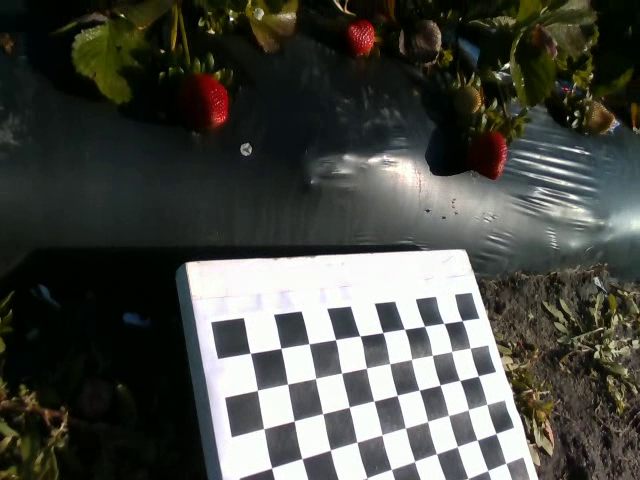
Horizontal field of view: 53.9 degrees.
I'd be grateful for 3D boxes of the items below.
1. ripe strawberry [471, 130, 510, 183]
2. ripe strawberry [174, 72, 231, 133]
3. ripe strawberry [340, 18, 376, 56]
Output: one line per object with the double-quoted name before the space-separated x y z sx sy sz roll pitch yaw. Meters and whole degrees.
"ripe strawberry" 0.153 -0.073 0.565 0.042 0.059 0.042 25 -45 -31
"ripe strawberry" -0.080 -0.094 0.439 0.045 0.042 0.055 10 32 -39
"ripe strawberry" 0.032 -0.186 0.561 0.046 0.035 0.035 3 -23 -46
